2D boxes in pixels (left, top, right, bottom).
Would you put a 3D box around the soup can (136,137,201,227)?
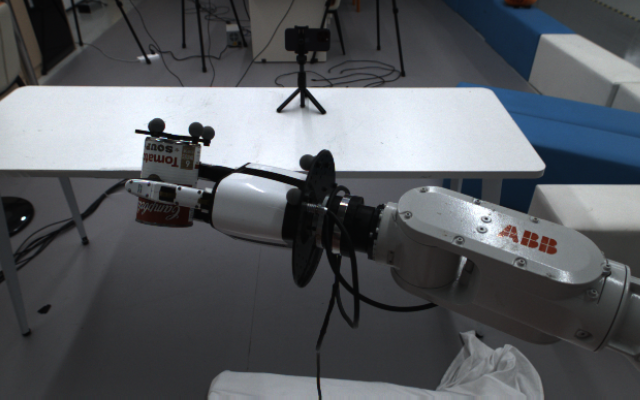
[{"bbox_3d":[-0.183,-0.020,0.591,0.067,0.101,0.067,7,3,0],"label":"soup can"}]
